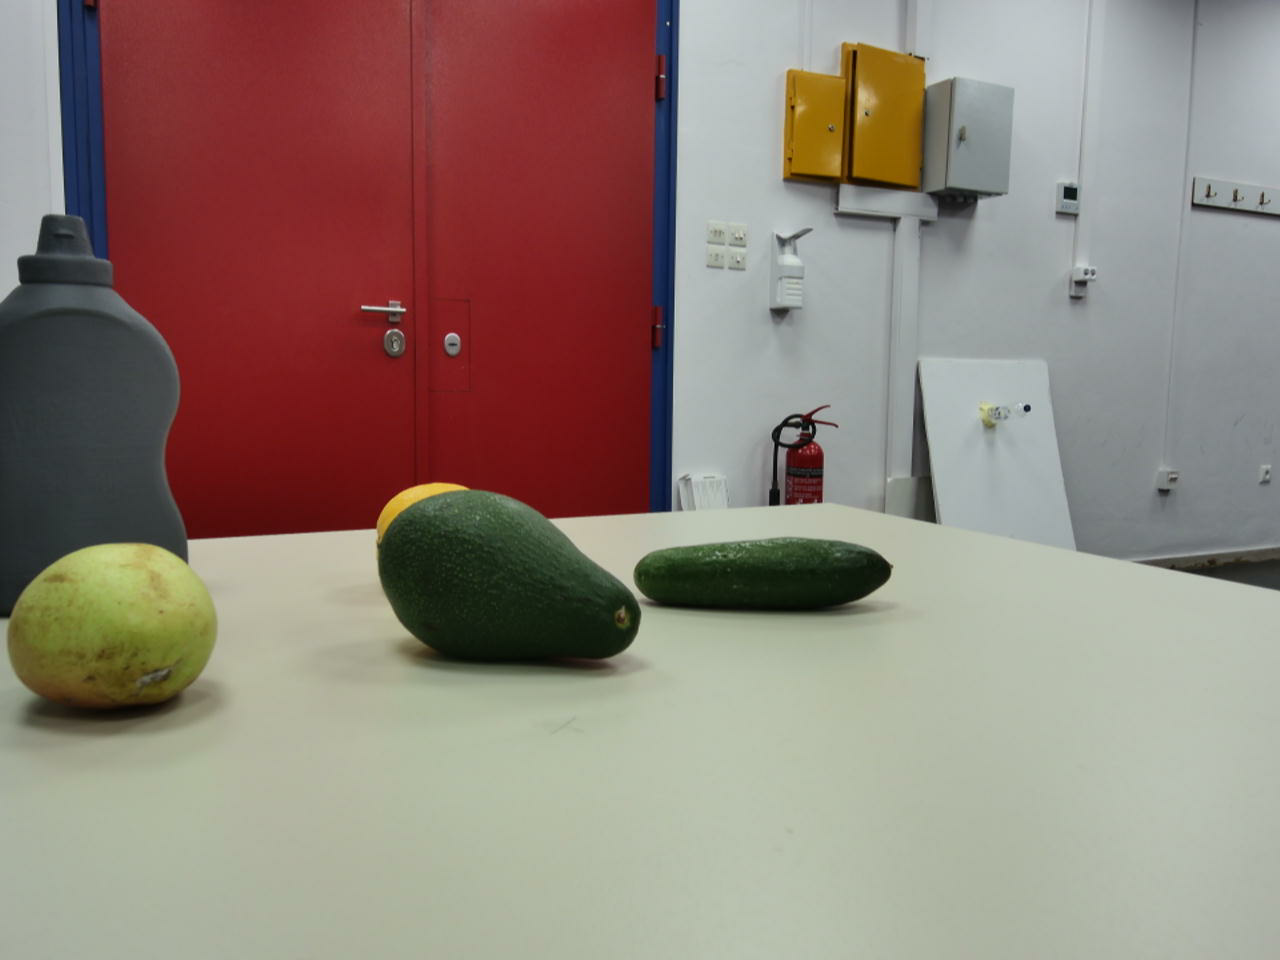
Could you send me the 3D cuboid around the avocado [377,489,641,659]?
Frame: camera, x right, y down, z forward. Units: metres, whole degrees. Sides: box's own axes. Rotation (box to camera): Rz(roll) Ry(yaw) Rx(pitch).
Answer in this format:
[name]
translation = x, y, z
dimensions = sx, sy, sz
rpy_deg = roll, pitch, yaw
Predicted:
[avocado]
translation = -0.059, 0.040, 0.417
dimensions = 0.110, 0.071, 0.072
rpy_deg = 4, 5, 41
